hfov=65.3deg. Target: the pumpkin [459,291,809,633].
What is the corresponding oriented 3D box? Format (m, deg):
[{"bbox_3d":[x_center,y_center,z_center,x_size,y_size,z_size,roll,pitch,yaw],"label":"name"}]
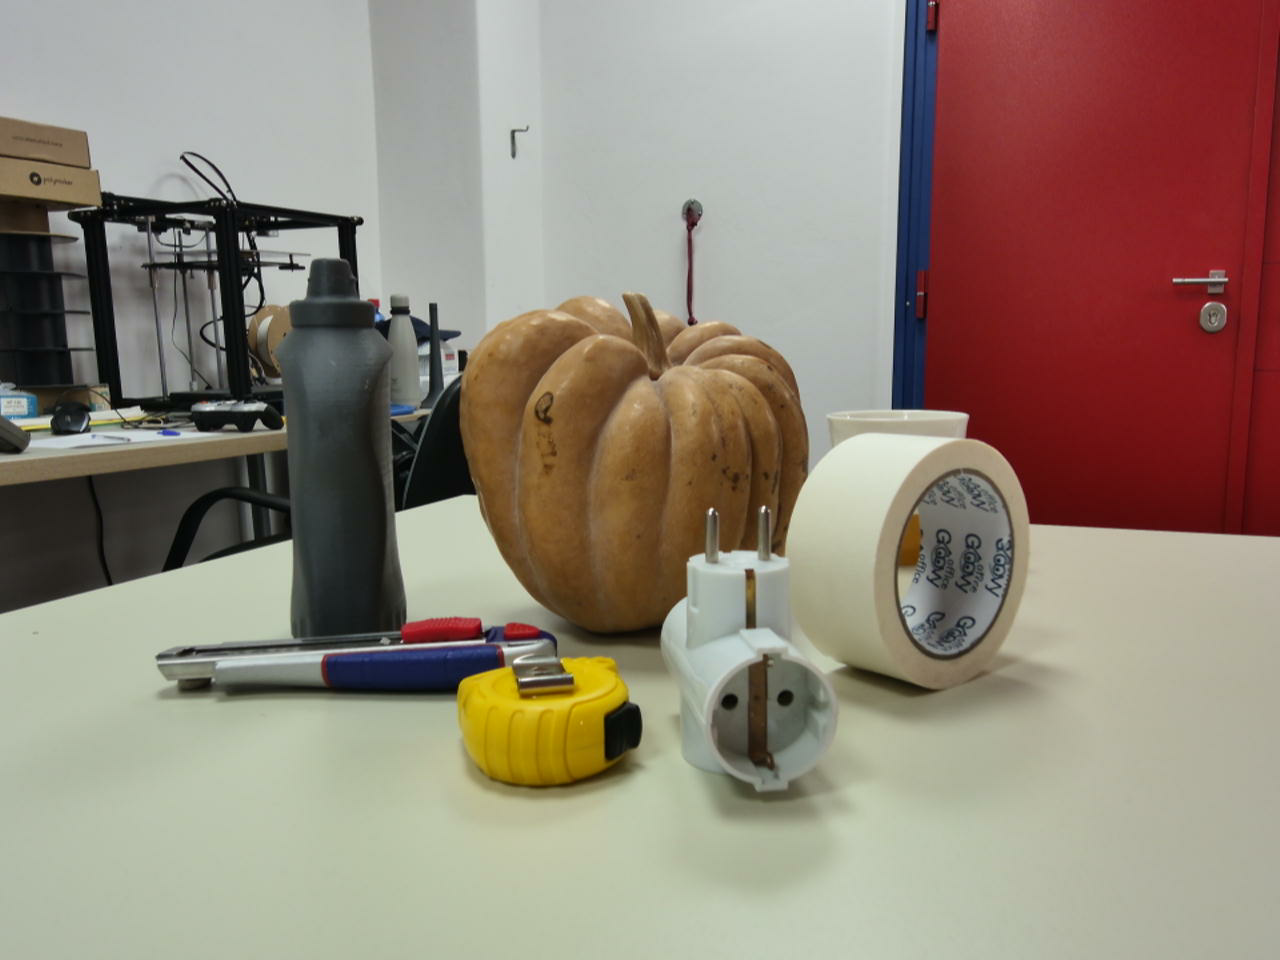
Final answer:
[{"bbox_3d":[-0.005,-0.012,0.539,0.199,0.177,0.198,-1,6,0],"label":"pumpkin"}]
